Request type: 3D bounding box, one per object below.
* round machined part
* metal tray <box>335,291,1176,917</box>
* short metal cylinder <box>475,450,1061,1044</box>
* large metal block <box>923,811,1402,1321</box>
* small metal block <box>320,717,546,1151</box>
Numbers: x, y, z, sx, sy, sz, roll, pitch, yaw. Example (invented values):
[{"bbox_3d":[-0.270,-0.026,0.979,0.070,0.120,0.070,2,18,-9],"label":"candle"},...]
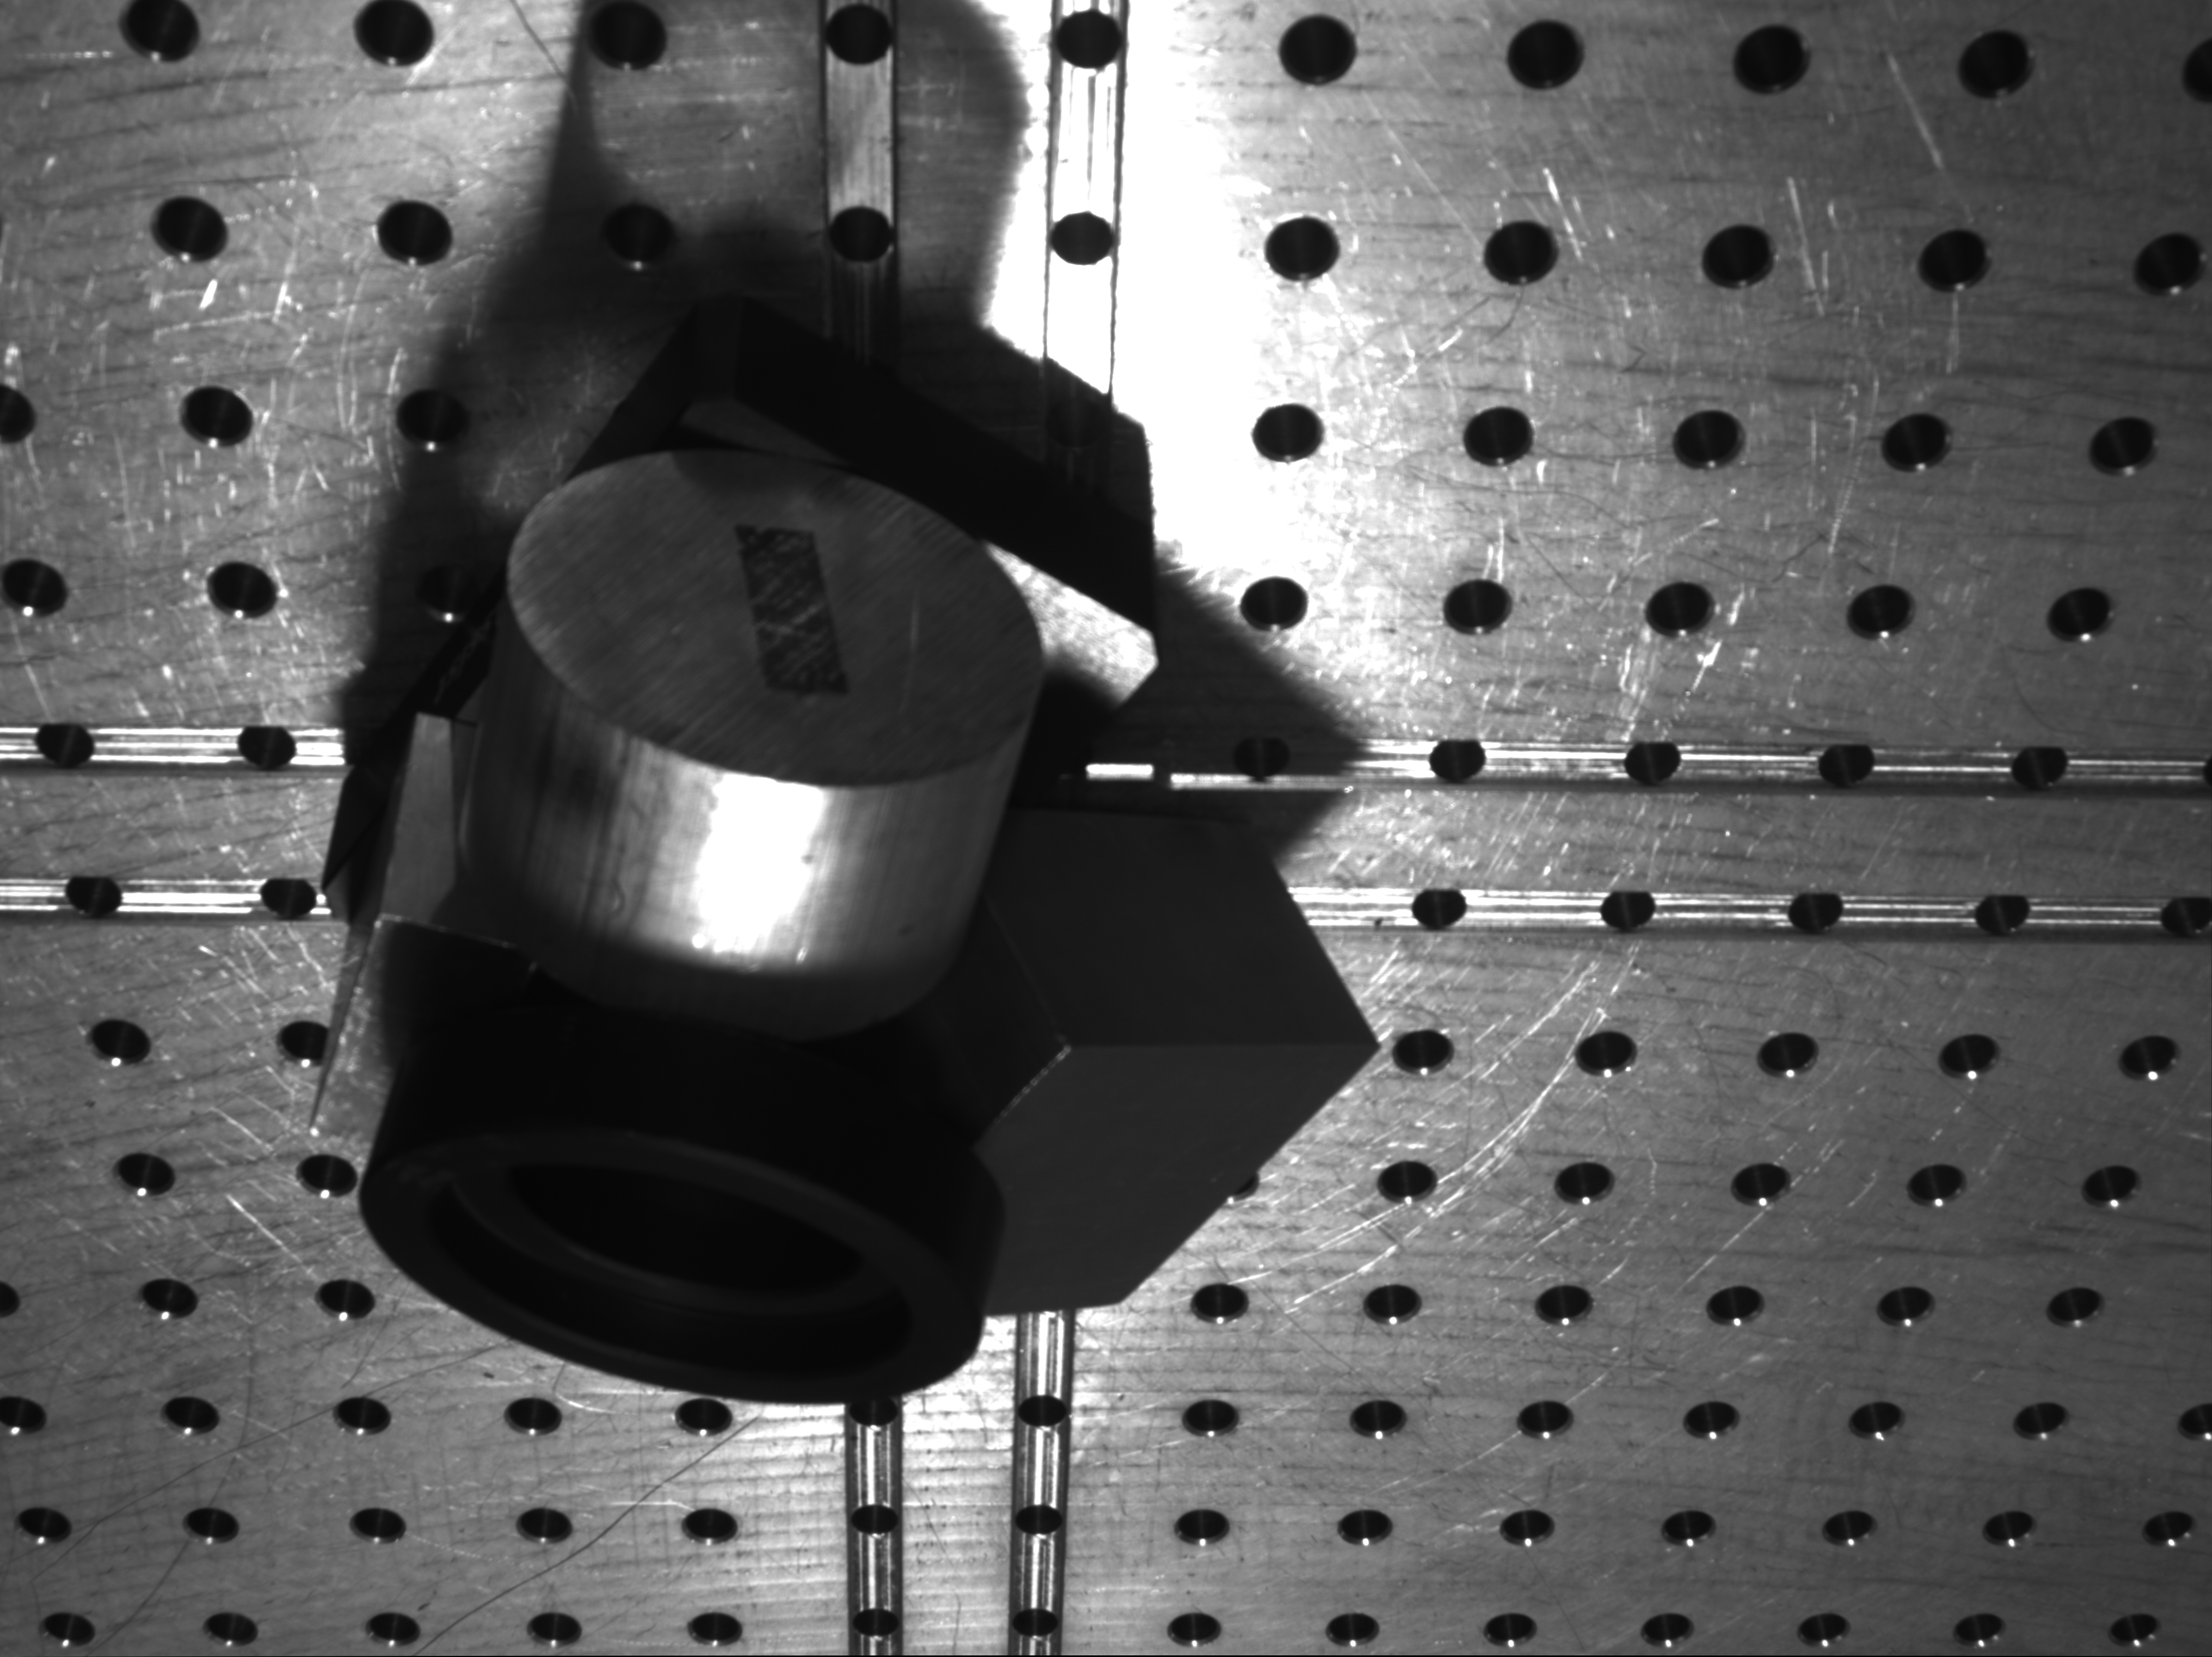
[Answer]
[{"bbox_3d":[-0.061,0.052,0.574,0.098,0.042,0.098,9,150,5],"label":"round machined part"},{"bbox_3d":[-0.060,-0.018,0.622,0.090,0.030,0.130,28,124,-23],"label":"metal tray"},{"bbox_3d":[-0.052,-0.013,0.553,0.080,0.080,0.050,10,129,-10],"label":"short metal cylinder"},{"bbox_3d":[-0.010,0.043,0.637,0.080,0.050,0.080,3,138,-46],"label":"large metal block"},{"bbox_3d":[-0.107,0.019,0.597,0.025,0.050,0.050,15,128,-14],"label":"small metal block"}]
